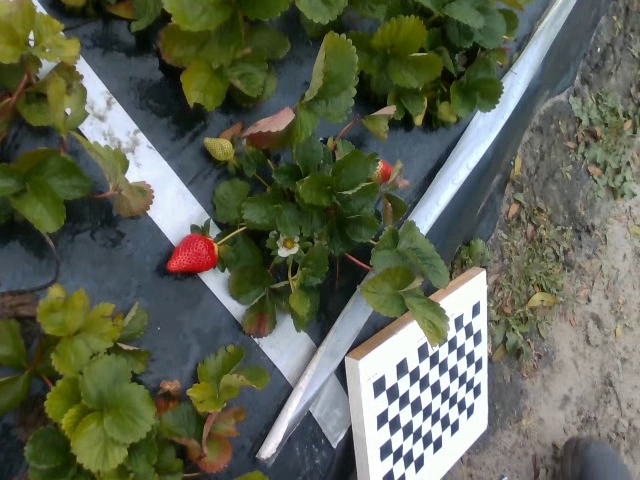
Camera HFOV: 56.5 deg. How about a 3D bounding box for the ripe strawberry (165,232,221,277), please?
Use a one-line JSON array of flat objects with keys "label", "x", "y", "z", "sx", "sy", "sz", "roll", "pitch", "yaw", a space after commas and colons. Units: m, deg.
[{"label": "ripe strawberry", "x": -0.115, "y": 0.015, "z": 0.521, "sx": 0.037, "sy": 0.042, "sz": 0.051, "roll": 16, "pitch": 34, "yaw": 39}]
